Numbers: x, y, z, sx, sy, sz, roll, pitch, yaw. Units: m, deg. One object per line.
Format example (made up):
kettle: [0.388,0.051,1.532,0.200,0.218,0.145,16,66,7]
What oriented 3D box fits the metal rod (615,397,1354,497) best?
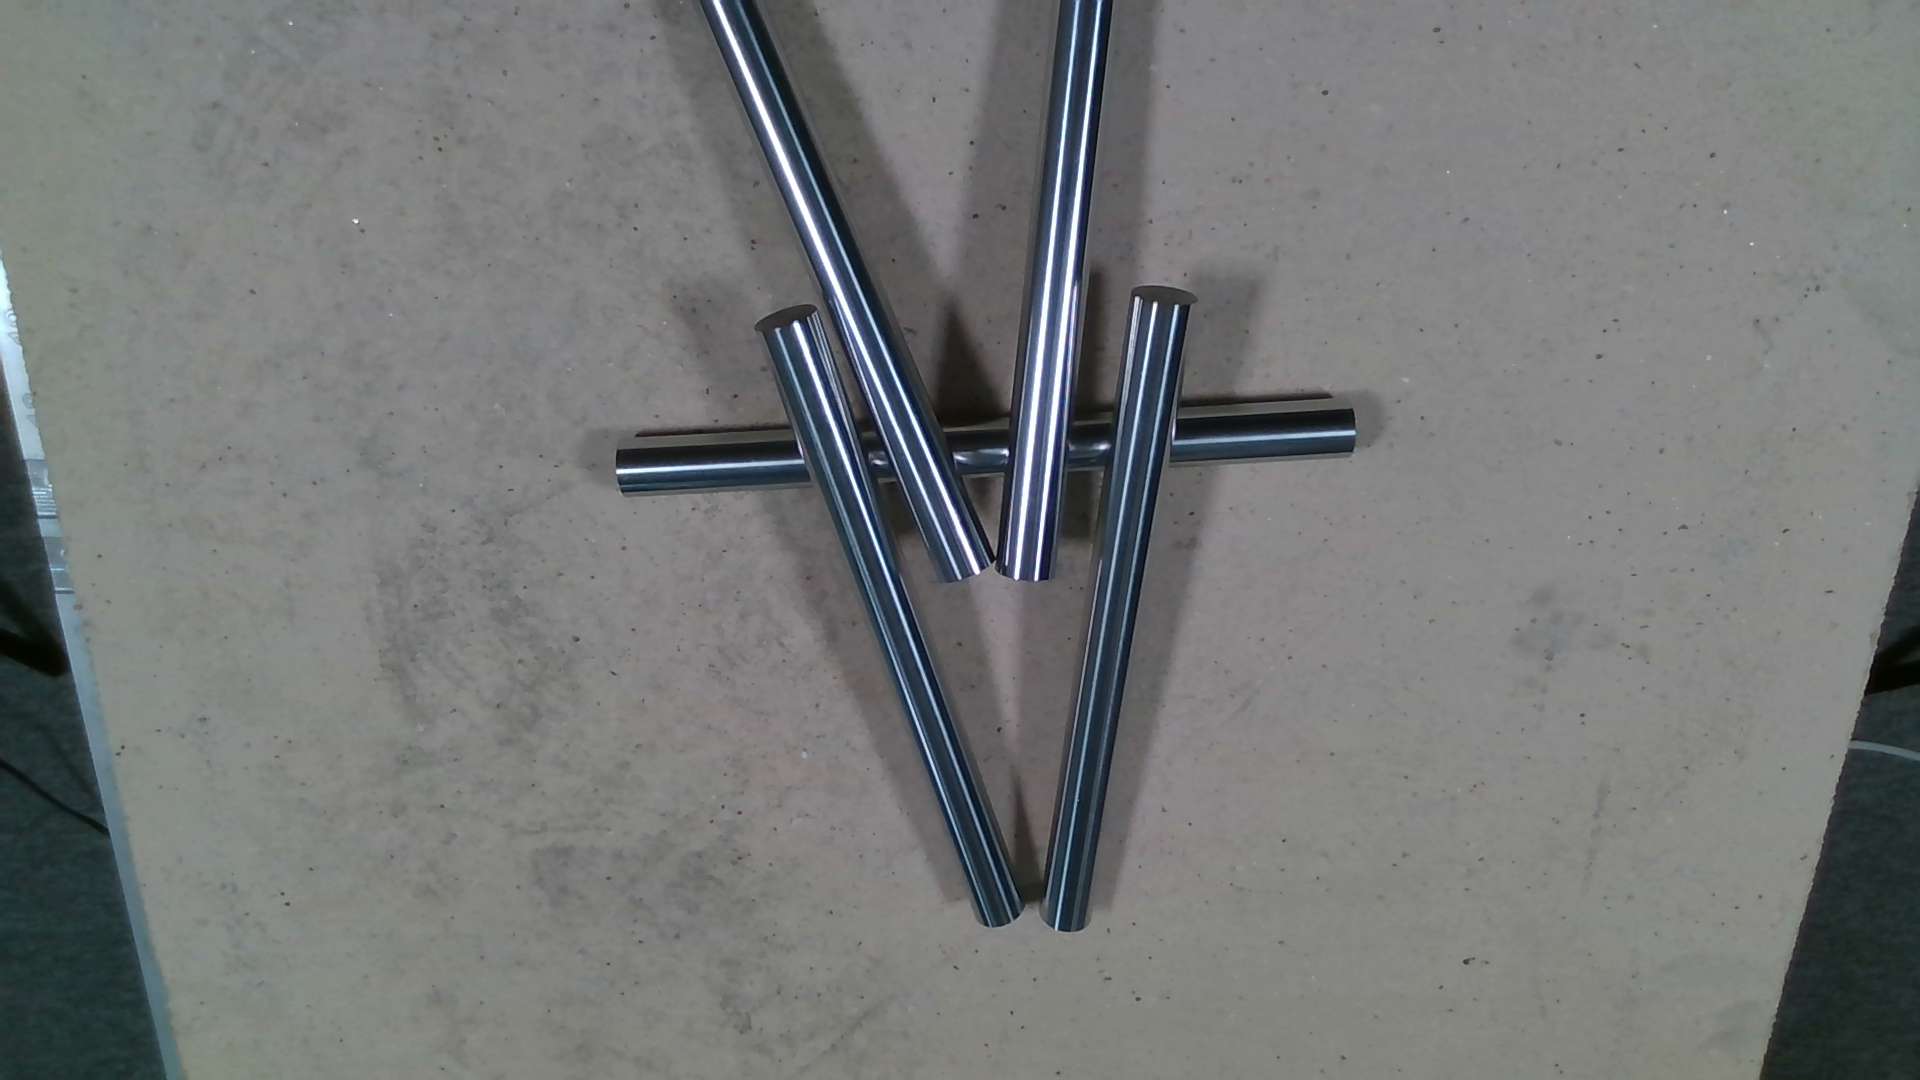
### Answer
metal rod: [0.009,-0.038,0.570,0.300,0.025,0.025,-3,110,1]

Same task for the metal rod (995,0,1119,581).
metal rod: [0.040,-0.131,0.521,0.025,0.025,0.300,5,105,-2]

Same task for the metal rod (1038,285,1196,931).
metal rod: [0.063,0.042,0.583,0.025,0.025,0.301,5,116,-2]

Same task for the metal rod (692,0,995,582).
metal rod: [-0.053,-0.123,0.524,0.025,0.025,0.300,-21,103,8]

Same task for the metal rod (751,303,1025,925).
metal rod: [-0.024,0.044,0.584,0.025,0.025,0.301,-16,116,6]
